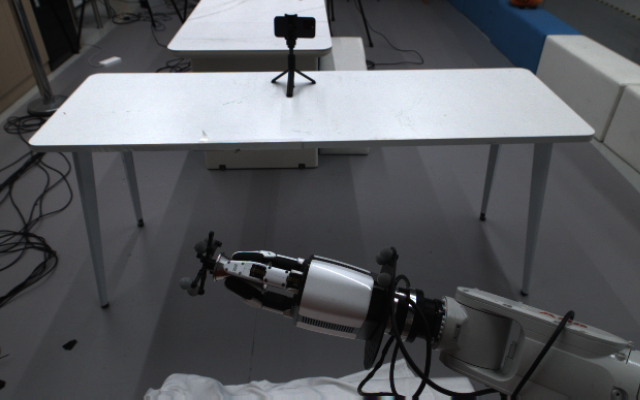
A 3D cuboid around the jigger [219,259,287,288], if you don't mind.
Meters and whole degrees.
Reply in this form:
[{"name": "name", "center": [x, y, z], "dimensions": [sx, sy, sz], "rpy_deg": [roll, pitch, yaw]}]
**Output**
[{"name": "jigger", "center": [-0.095, 0.093, 0.639], "dimensions": [0.071, 0.043, 0.043], "rpy_deg": [13, 36, 4]}]
